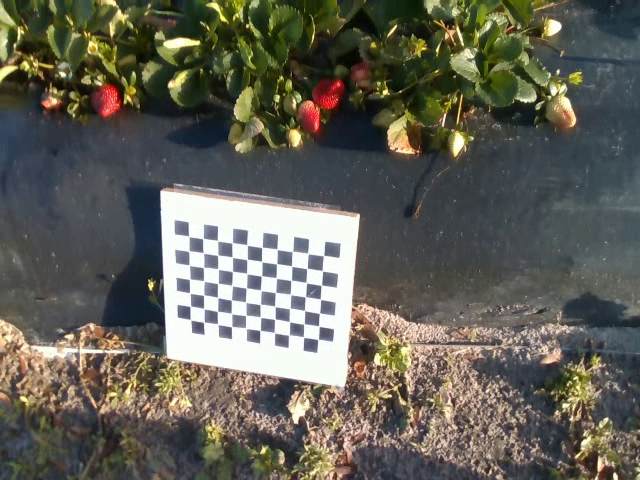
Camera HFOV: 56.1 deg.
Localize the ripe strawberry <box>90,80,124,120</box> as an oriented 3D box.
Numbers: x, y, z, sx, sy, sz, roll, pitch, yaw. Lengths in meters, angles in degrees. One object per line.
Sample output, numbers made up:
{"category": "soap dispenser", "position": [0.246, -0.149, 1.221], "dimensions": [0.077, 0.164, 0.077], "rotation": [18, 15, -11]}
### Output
{"category": "ripe strawberry", "position": [-0.321, -0.190, 0.885], "dimensions": [0.052, 0.052, 0.041], "rotation": [-23, -44, 16]}
